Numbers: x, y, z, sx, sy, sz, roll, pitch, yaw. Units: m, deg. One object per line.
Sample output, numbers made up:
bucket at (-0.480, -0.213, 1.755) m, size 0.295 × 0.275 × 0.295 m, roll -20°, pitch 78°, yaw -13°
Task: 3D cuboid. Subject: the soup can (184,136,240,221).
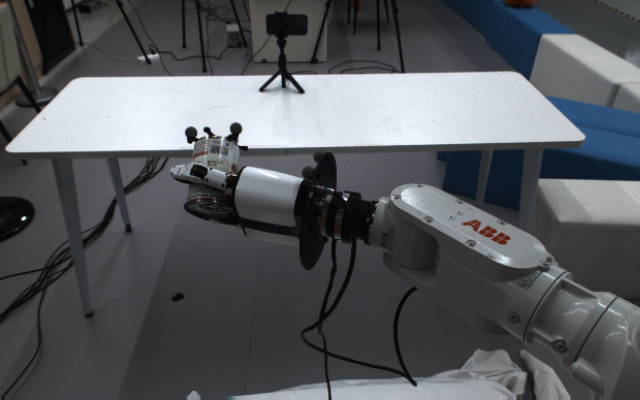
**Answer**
soup can at (-0.150, -0.031, 0.685) m, size 0.067 × 0.067 × 0.101 m, roll 1°, pitch 68°, yaw -1°
